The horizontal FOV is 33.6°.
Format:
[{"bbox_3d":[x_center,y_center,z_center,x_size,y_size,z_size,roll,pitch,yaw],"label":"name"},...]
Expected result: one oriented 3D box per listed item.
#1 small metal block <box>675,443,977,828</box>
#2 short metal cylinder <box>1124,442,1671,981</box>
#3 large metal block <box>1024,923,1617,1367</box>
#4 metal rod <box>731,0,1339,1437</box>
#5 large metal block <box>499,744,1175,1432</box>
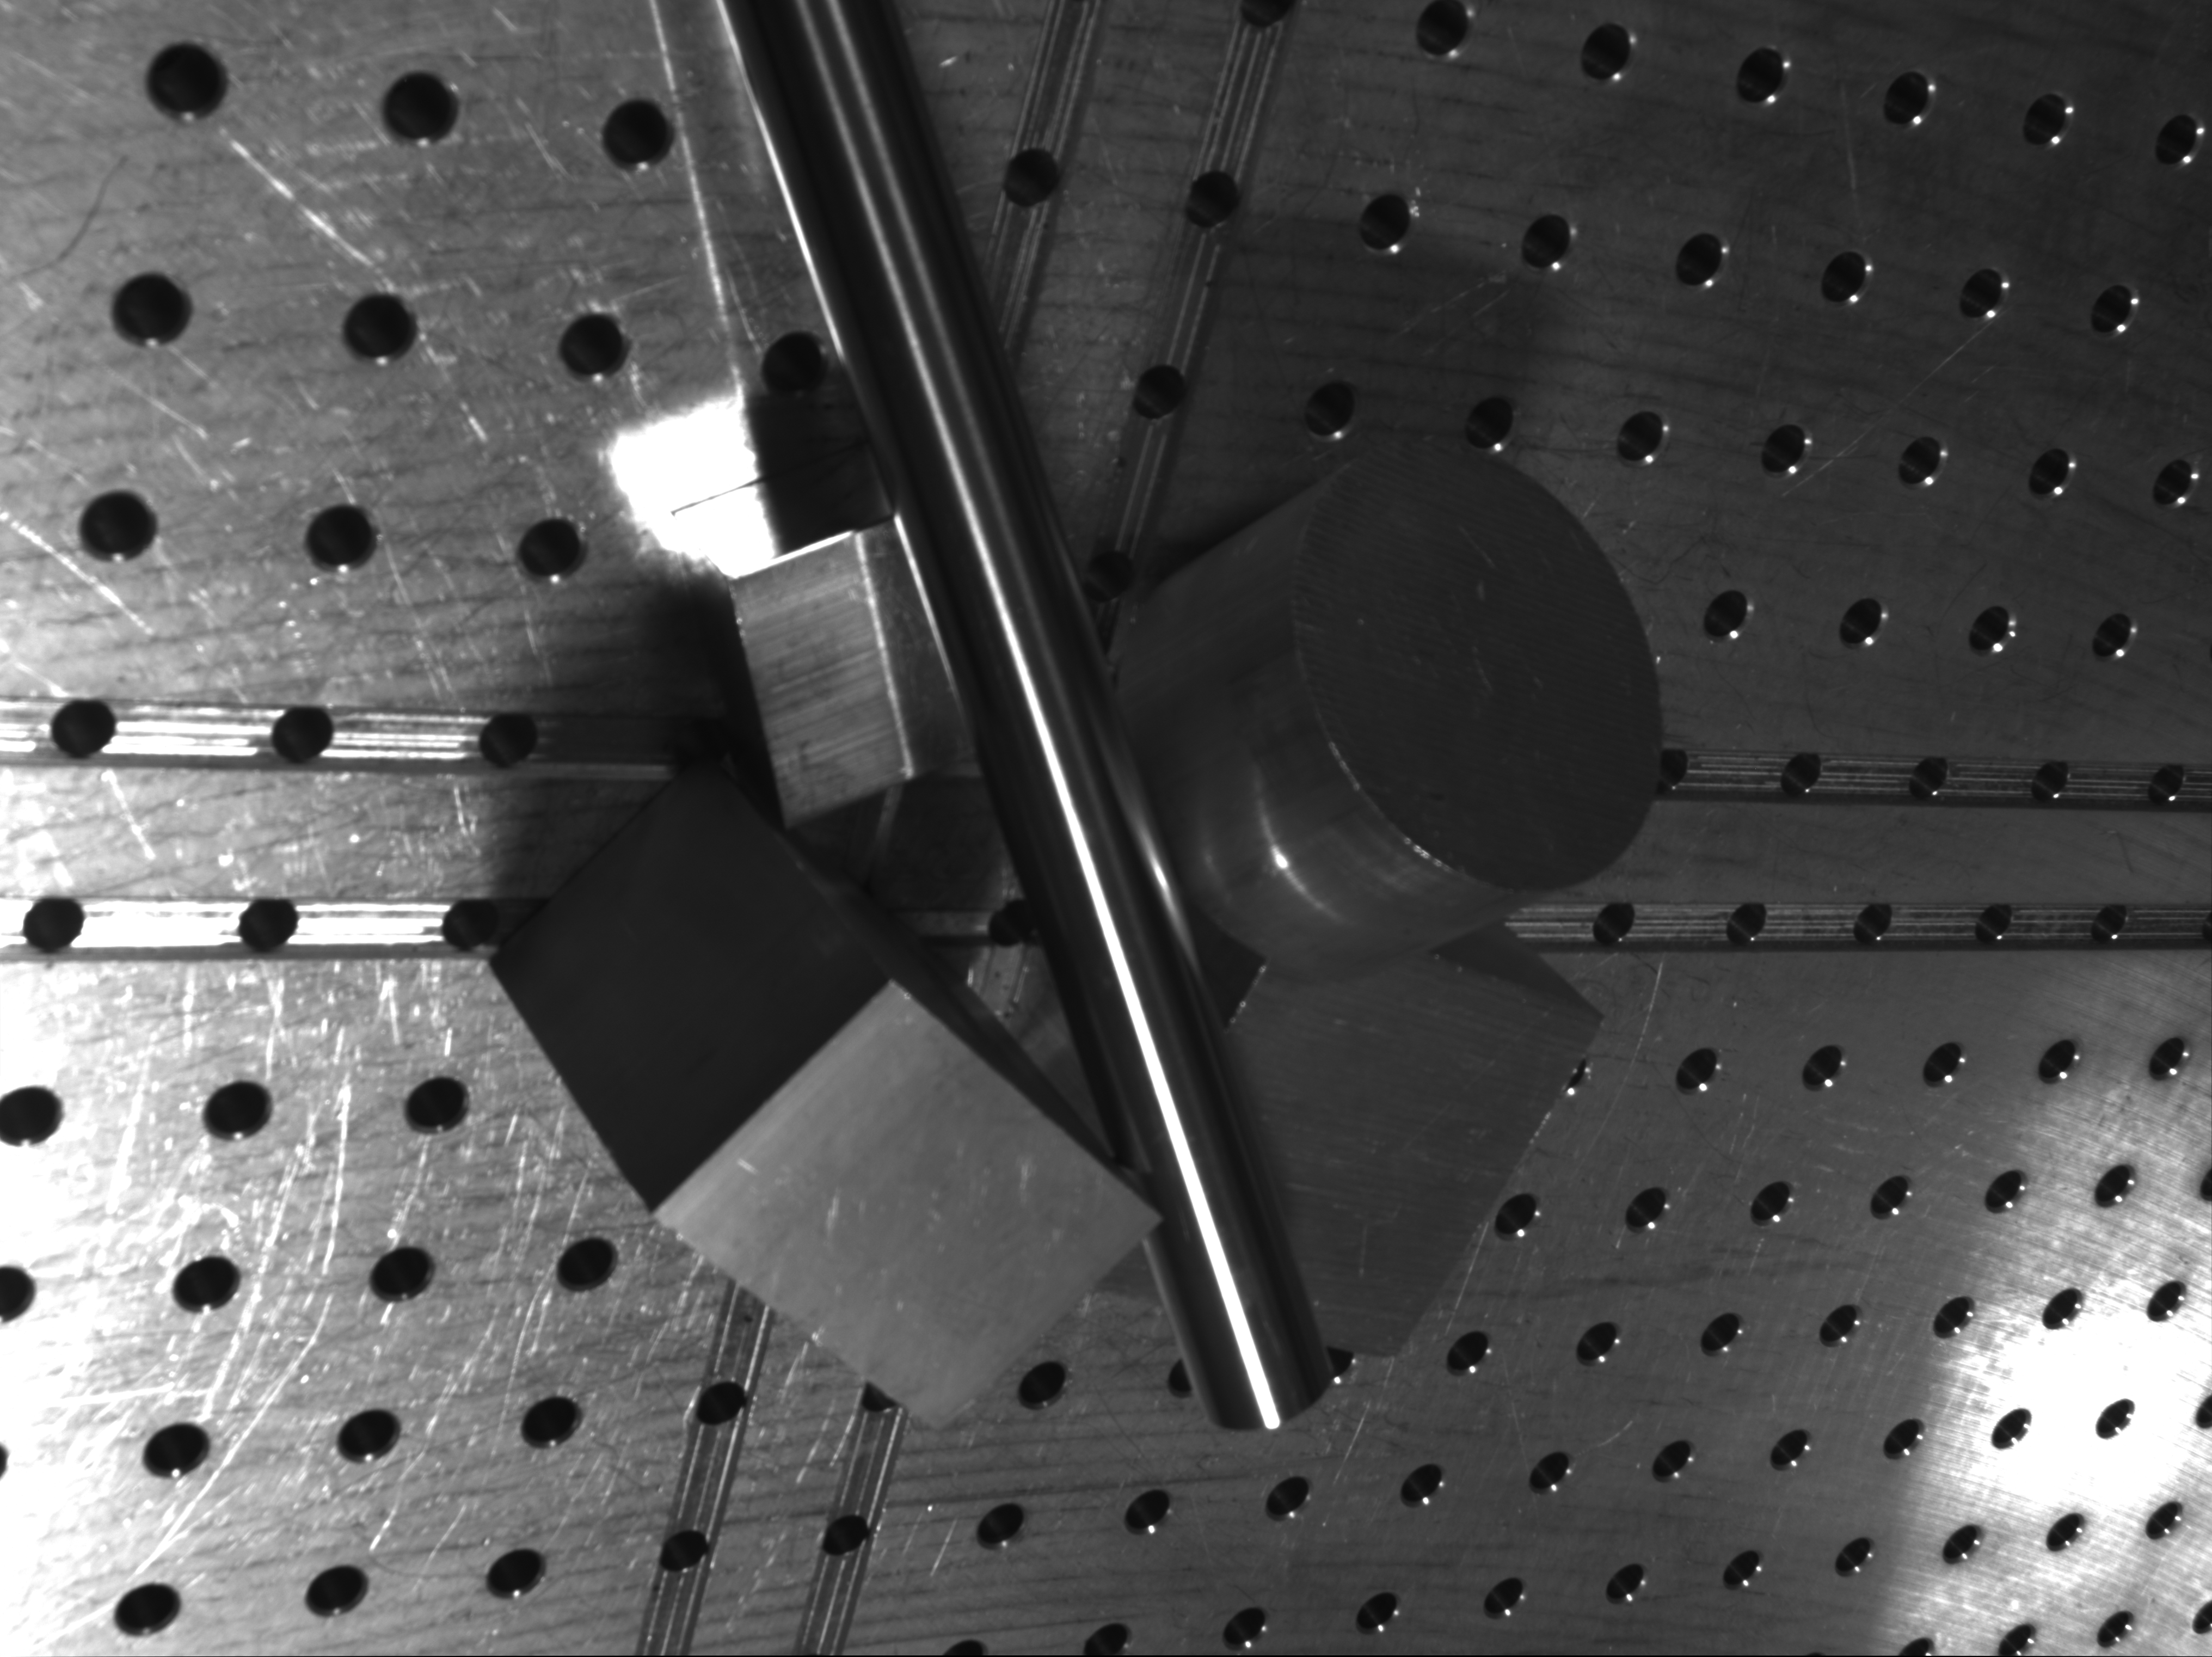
[{"bbox_3d":[-0.039,-0.035,0.610,0.050,0.025,0.050,-22,127,-17],"label":"small metal block"},{"bbox_3d":[0.050,-0.019,0.626,0.080,0.080,0.050,9,157,-34],"label":"short metal cylinder"},{"bbox_3d":[0.034,0.047,0.686,0.080,0.050,0.080,19,107,-37],"label":"large metal block"},{"bbox_3d":[-0.012,-0.028,0.590,0.025,0.025,0.300,-25,116,-15],"label":"metal rod"},{"bbox_3d":[-0.046,0.043,0.618,0.050,0.080,0.080,-45,130,1],"label":"large metal block"}]
